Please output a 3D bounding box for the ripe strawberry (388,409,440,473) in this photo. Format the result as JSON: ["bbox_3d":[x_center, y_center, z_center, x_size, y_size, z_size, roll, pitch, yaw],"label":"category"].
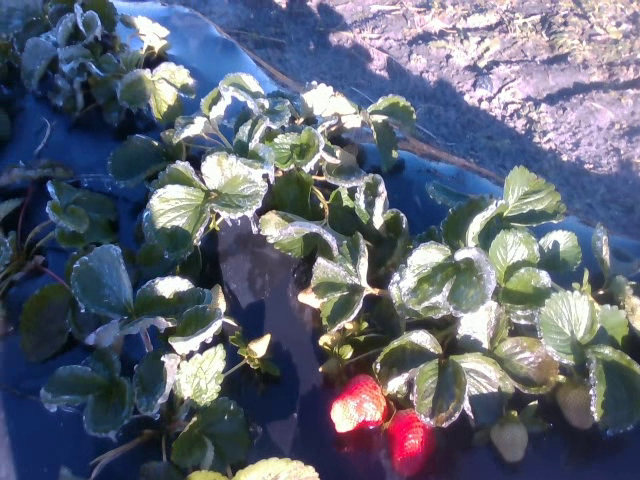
[{"bbox_3d":[0.079,0.180,0.551,0.043,0.059,0.040,1,-28,12],"label":"ripe strawberry"}]

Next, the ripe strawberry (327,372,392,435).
[{"bbox_3d":[0.036,0.162,0.578,0.069,0.053,0.040,-36,-19,-14],"label":"ripe strawberry"}]
